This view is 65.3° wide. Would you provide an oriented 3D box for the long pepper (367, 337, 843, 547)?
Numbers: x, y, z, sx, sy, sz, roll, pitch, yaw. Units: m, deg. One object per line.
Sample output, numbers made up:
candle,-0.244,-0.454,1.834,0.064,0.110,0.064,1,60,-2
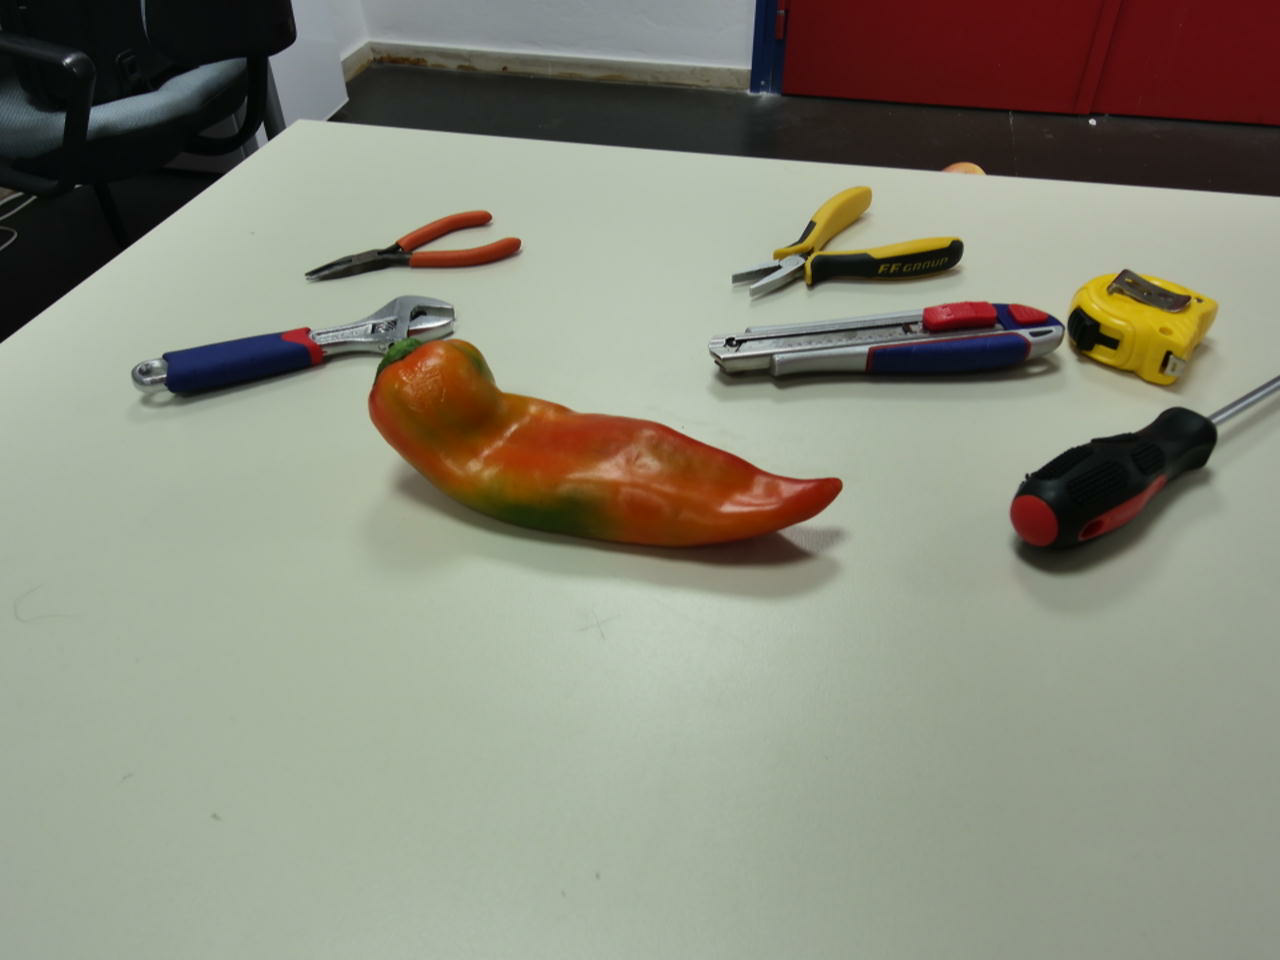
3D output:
long pepper,-0.018,-0.016,0.411,0.199,0.065,0.066,12,40,15
